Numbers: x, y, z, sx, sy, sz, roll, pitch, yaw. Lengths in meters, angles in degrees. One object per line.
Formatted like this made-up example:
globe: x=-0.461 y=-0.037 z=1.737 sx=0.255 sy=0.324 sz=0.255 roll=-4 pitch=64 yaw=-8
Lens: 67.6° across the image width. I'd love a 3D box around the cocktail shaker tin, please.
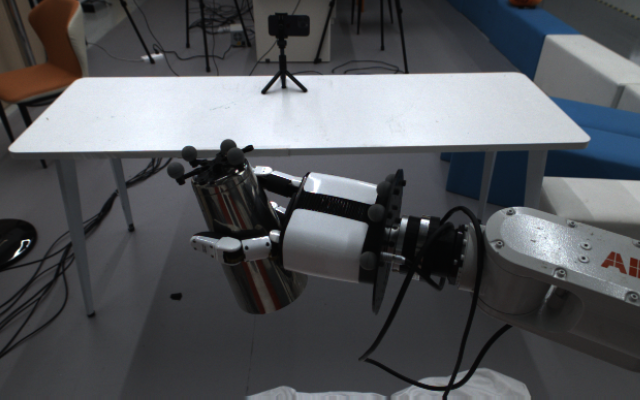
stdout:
cocktail shaker tin: x=-0.083 y=0.039 z=0.560 sx=0.093 sy=0.170 sz=0.093 roll=-15 pitch=29 yaw=8
